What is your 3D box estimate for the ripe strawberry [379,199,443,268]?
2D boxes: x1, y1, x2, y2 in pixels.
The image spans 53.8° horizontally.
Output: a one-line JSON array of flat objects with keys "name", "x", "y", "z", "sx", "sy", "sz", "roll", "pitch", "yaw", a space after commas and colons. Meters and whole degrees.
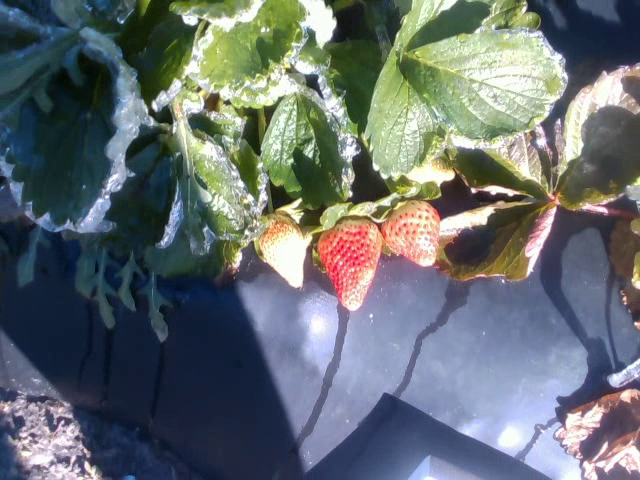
[{"name": "ripe strawberry", "x": 0.053, "y": -0.002, "z": 0.332, "sx": 0.036, "sy": 0.041, "sz": 0.030, "roll": -32, "pitch": 13, "yaw": 26}]

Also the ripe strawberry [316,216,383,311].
[{"name": "ripe strawberry", "x": 0.018, "y": 0.017, "z": 0.331, "sx": 0.036, "sy": 0.052, "sz": 0.039, "roll": -8, "pitch": -10, "yaw": 16}]
